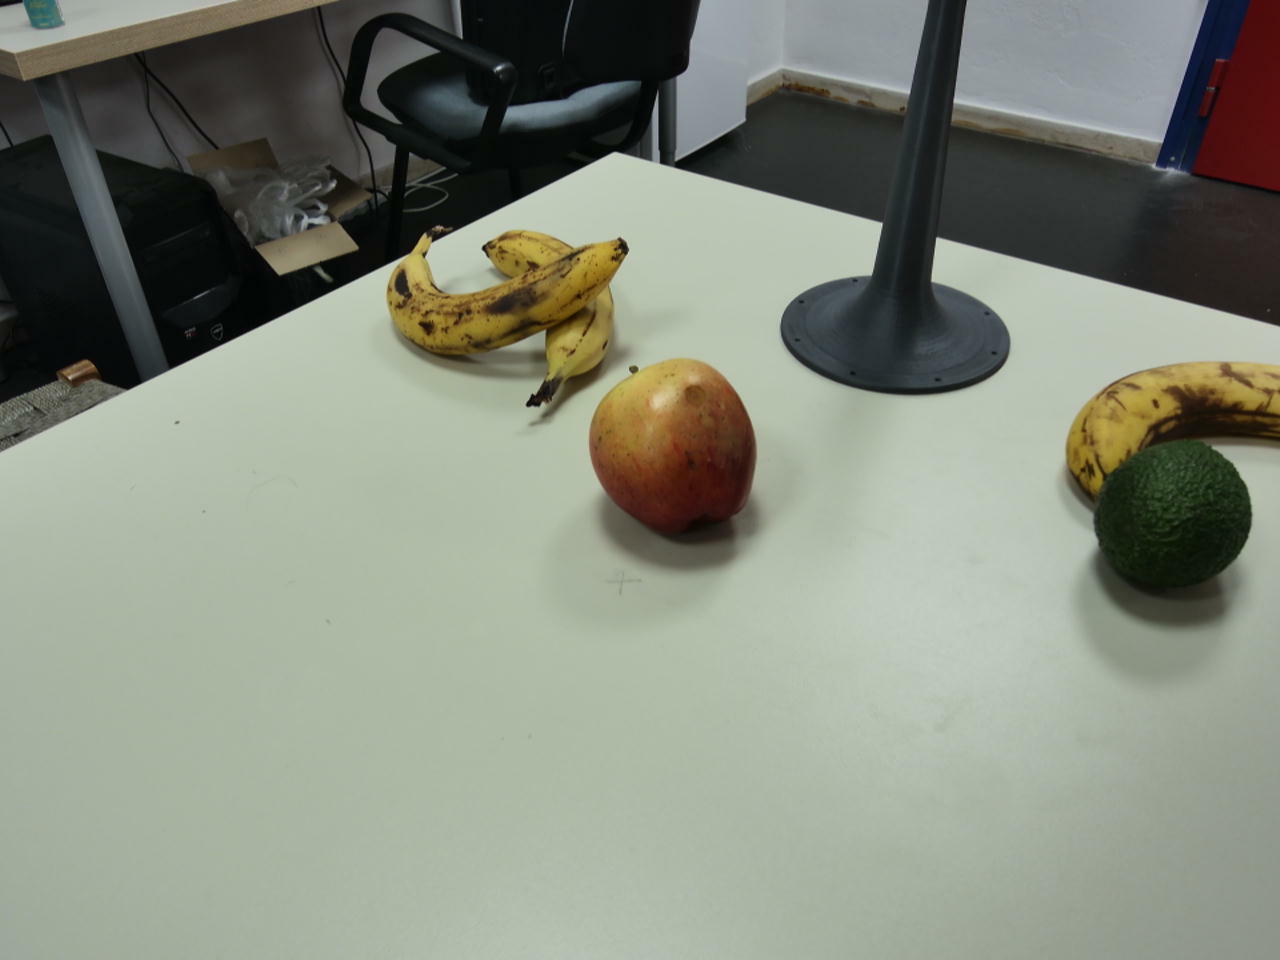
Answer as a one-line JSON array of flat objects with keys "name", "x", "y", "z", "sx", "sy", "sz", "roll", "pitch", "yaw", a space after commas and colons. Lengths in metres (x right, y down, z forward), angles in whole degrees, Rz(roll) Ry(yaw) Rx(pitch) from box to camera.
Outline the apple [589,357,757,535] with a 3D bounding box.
[{"name": "apple", "x": 0.017, "y": -0.019, "z": 0.516, "sx": 0.086, "sy": 0.084, "sz": 0.093, "roll": 2, "pitch": 37, "yaw": 2}]
